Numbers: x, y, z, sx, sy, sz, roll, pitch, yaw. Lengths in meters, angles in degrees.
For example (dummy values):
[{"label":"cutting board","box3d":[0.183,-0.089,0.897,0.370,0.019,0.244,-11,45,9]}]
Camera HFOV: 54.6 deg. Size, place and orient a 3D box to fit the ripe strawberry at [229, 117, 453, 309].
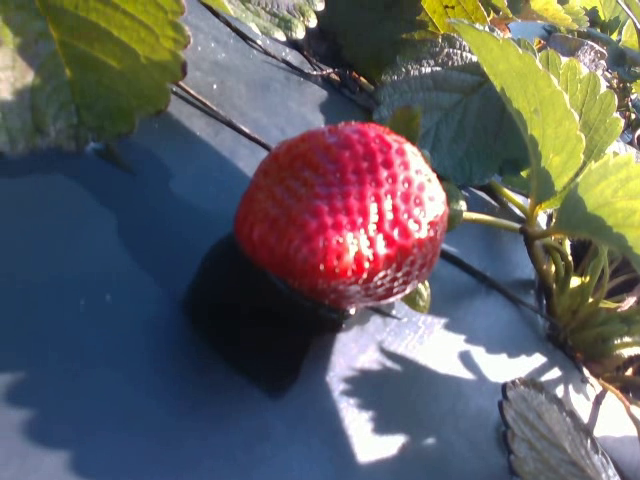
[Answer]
[{"label":"ripe strawberry","box3d":[0.003,-0.002,0.113,0.044,0.042,0.055,-8,12,22]}]
